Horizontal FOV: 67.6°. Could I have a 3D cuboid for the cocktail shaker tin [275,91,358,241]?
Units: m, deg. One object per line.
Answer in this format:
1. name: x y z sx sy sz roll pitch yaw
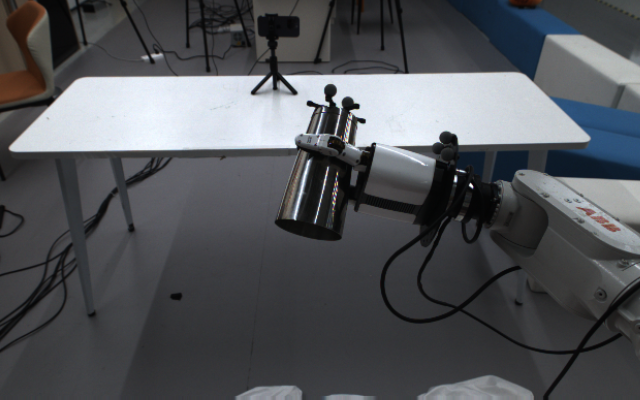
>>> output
1. cocktail shaker tin: 0.002 -0.038 0.664 0.093 0.093 0.170 11 74 12
